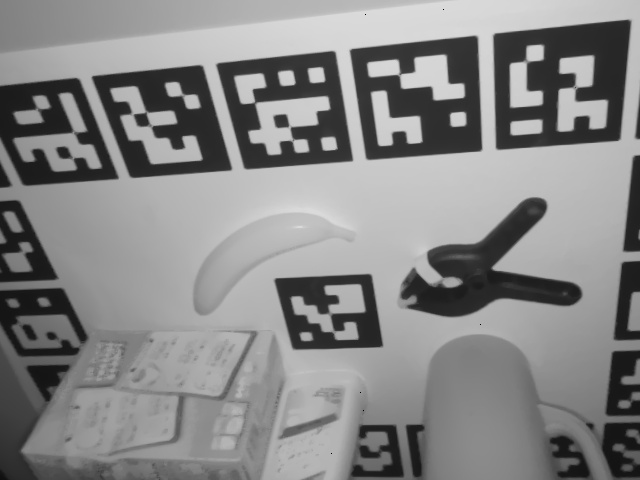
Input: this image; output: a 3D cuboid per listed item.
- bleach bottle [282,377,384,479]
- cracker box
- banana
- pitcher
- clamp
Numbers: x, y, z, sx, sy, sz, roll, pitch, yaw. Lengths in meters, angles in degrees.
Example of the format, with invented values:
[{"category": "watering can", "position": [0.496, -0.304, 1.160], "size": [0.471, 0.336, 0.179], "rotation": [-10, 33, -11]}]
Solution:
[{"category": "bleach bottle", "position": [0.011, 0.257, 0.715], "size": [0.102, 0.253, 0.067], "rotation": [-2, 126, 9]}, {"category": "cracker box", "position": [-0.148, 0.185, 0.717], "size": [0.213, 0.166, 0.071], "rotation": [-1, 128, 6]}, {"category": "banana", "position": [-0.043, 0.033, 0.704], "size": [0.195, 0.039, 0.074], "rotation": [-33, 116, 25]}, {"category": "pitcher", "position": [0.189, 0.229, 0.652], "size": [0.187, 0.245, 0.133], "rotation": [-17, 122, 21]}, {"category": "clamp", "position": [0.176, 0.050, 0.681], "size": [0.163, 0.037, 0.122], "rotation": [-16, 123, 19]}]
